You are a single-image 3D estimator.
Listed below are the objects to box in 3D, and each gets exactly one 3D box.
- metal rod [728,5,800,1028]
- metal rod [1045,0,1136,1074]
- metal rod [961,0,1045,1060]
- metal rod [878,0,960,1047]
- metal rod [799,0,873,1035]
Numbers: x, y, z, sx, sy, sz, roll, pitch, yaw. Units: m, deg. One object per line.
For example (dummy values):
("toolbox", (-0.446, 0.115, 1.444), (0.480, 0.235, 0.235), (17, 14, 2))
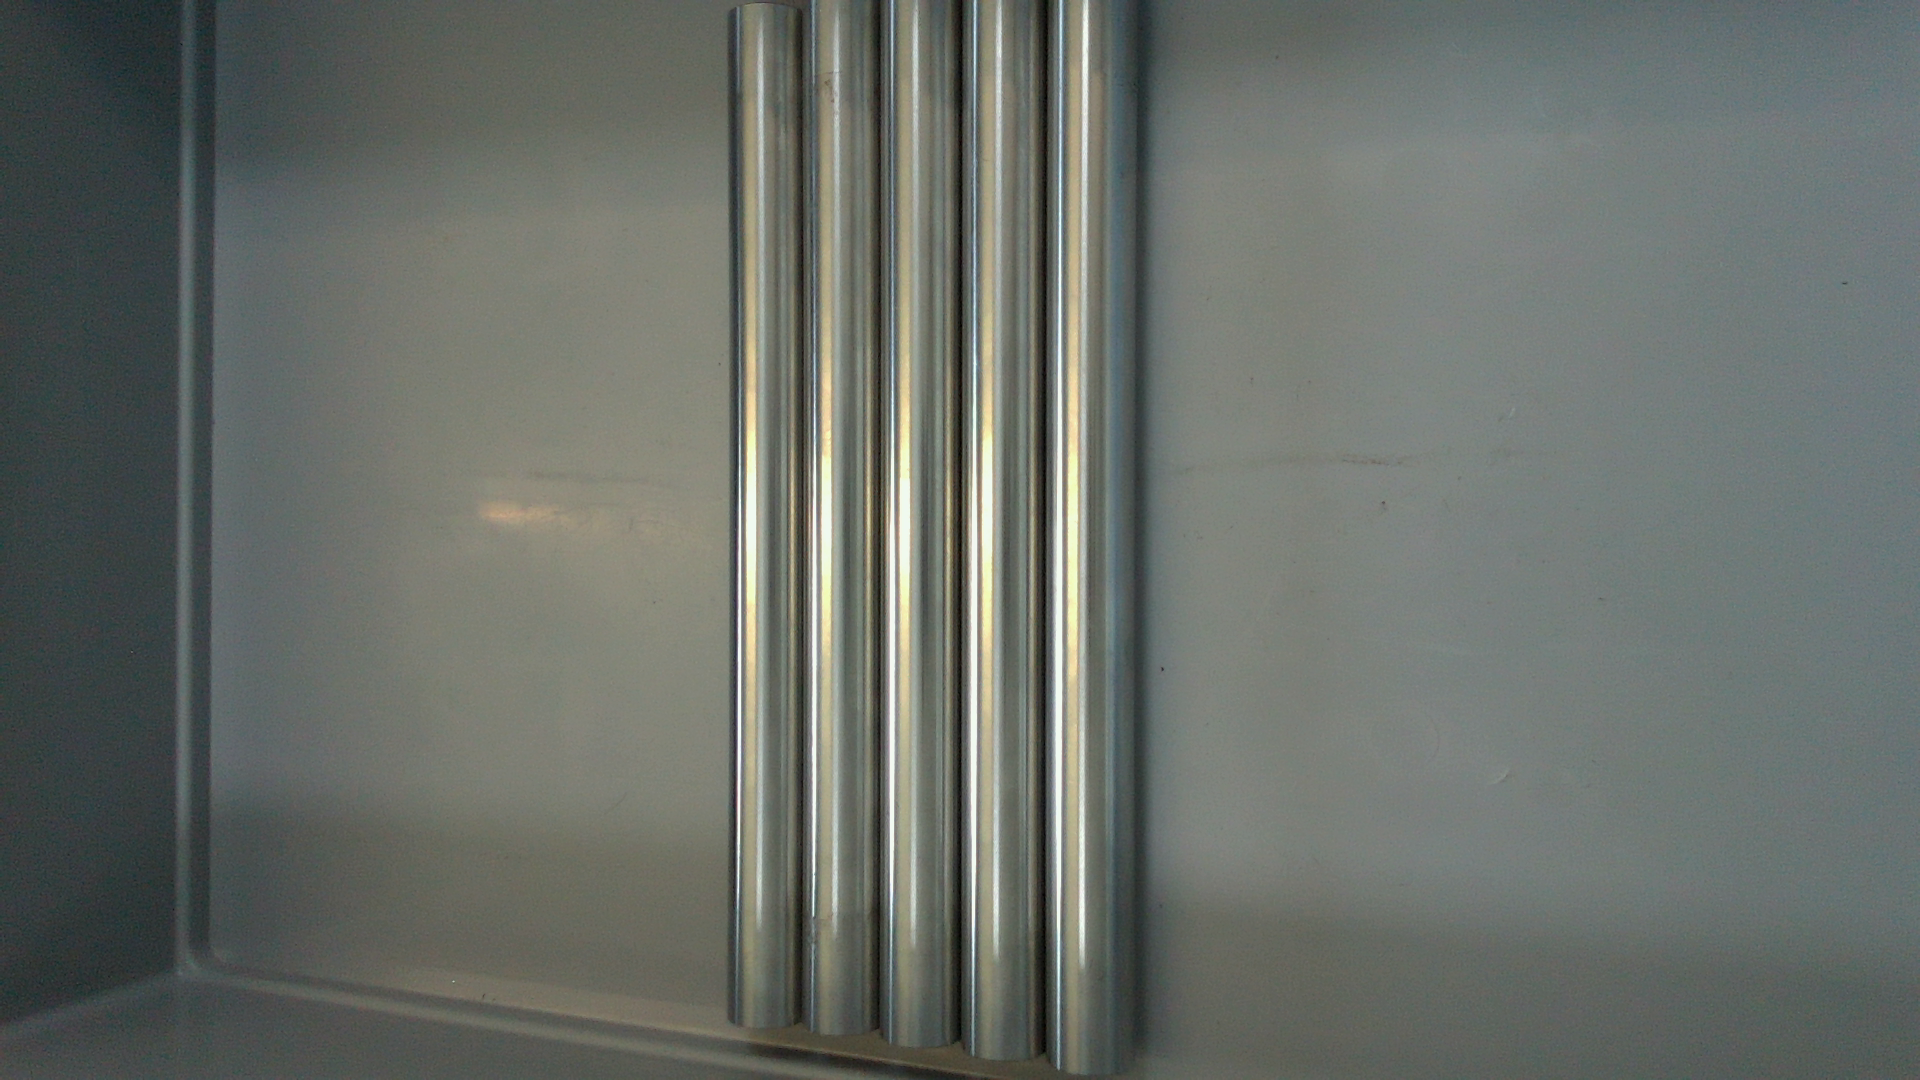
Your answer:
("metal rod", (-0.057, -0.007, 0.416), (0.025, 0.025, 0.300), (0, 90, 20))
("metal rod", (0.036, -0.006, 0.382), (0.025, 0.025, 0.300), (0, 90, 20))
("metal rod", (0.013, -0.007, 0.390), (0.025, 0.025, 0.300), (0, 90, 20))
("metal rod", (-0.011, -0.007, 0.399), (0.025, 0.025, 0.300), (0, 90, 20))
("metal rod", (-0.035, -0.008, 0.408), (0.025, 0.025, 0.300), (0, 90, 20))
